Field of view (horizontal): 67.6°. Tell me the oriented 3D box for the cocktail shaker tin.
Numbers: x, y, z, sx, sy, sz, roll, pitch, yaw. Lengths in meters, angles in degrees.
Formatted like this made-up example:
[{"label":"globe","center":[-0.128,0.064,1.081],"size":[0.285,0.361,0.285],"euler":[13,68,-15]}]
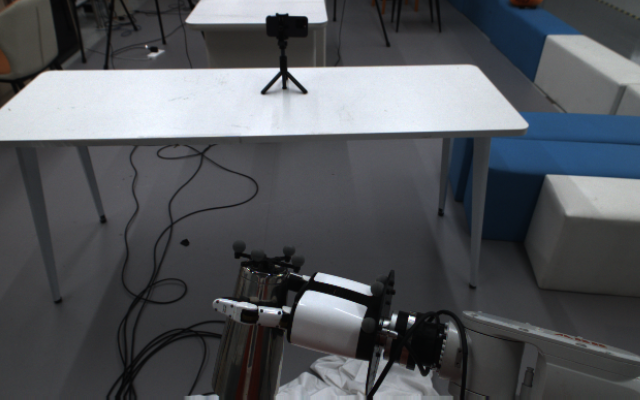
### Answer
[{"label":"cocktail shaker tin","center":[-0.083,0.168,0.646],"size":[0.093,0.170,0.093],"euler":[10,9,-2]}]
